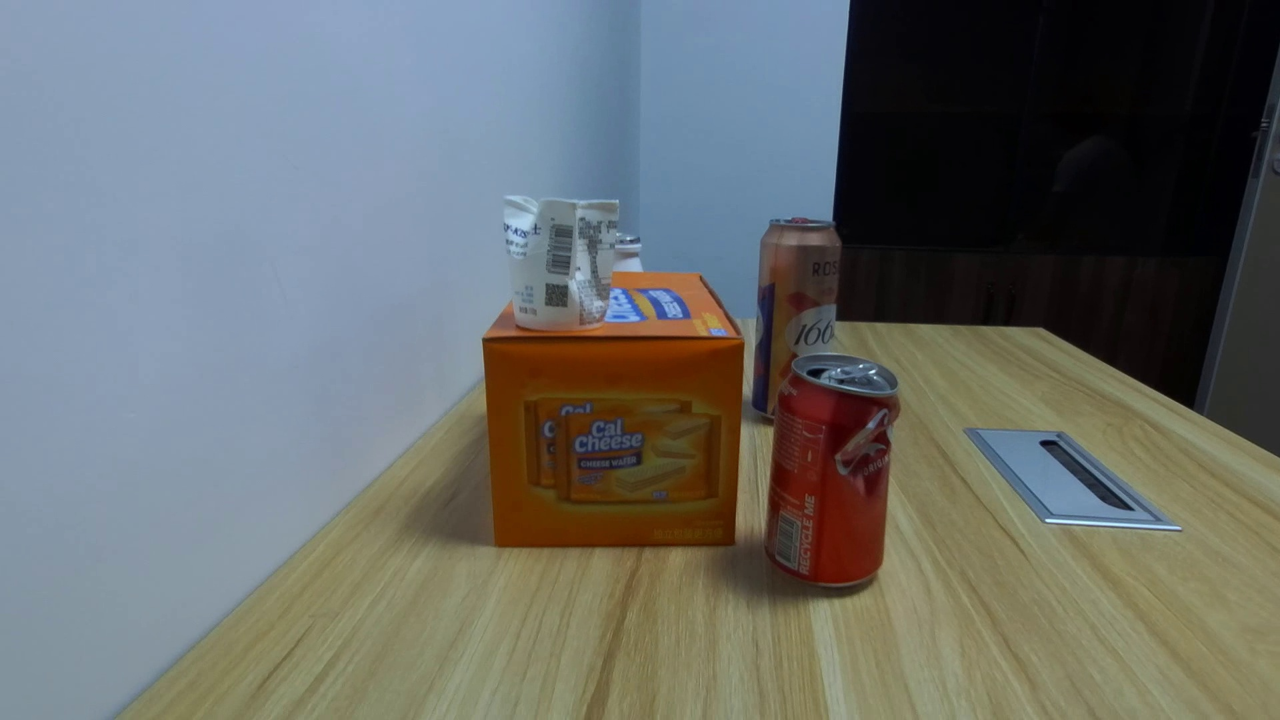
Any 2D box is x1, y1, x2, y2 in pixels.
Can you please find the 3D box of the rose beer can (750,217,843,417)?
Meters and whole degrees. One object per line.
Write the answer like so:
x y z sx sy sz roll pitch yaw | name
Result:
0.133 -0.030 0.604 0.068 0.169 0.068 3 11 0 | rose beer can

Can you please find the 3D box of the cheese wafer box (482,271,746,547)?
-0.016 0.020 0.501 0.148 0.129 0.221 1 16 -1 | cheese wafer box

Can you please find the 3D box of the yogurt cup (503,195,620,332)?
-0.046 -0.056 0.403 0.055 0.072 0.054 -16 24 -41 | yogurt cup

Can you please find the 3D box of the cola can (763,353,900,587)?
0.104 0.058 0.385 0.072 0.117 0.065 -14 21 -38 | cola can
